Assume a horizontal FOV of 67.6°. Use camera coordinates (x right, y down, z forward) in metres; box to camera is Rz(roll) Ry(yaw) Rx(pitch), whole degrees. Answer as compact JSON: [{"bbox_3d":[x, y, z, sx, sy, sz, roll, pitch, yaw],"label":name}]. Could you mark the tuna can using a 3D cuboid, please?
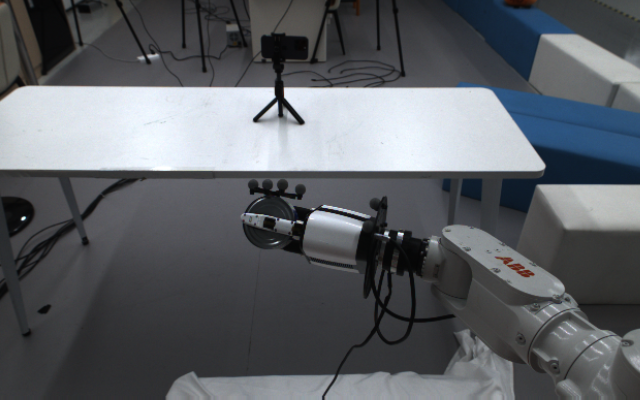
[{"bbox_3d":[-0.077,0.036,0.772,0.085,0.085,0.034,11,-6,13],"label":"tuna can"}]
